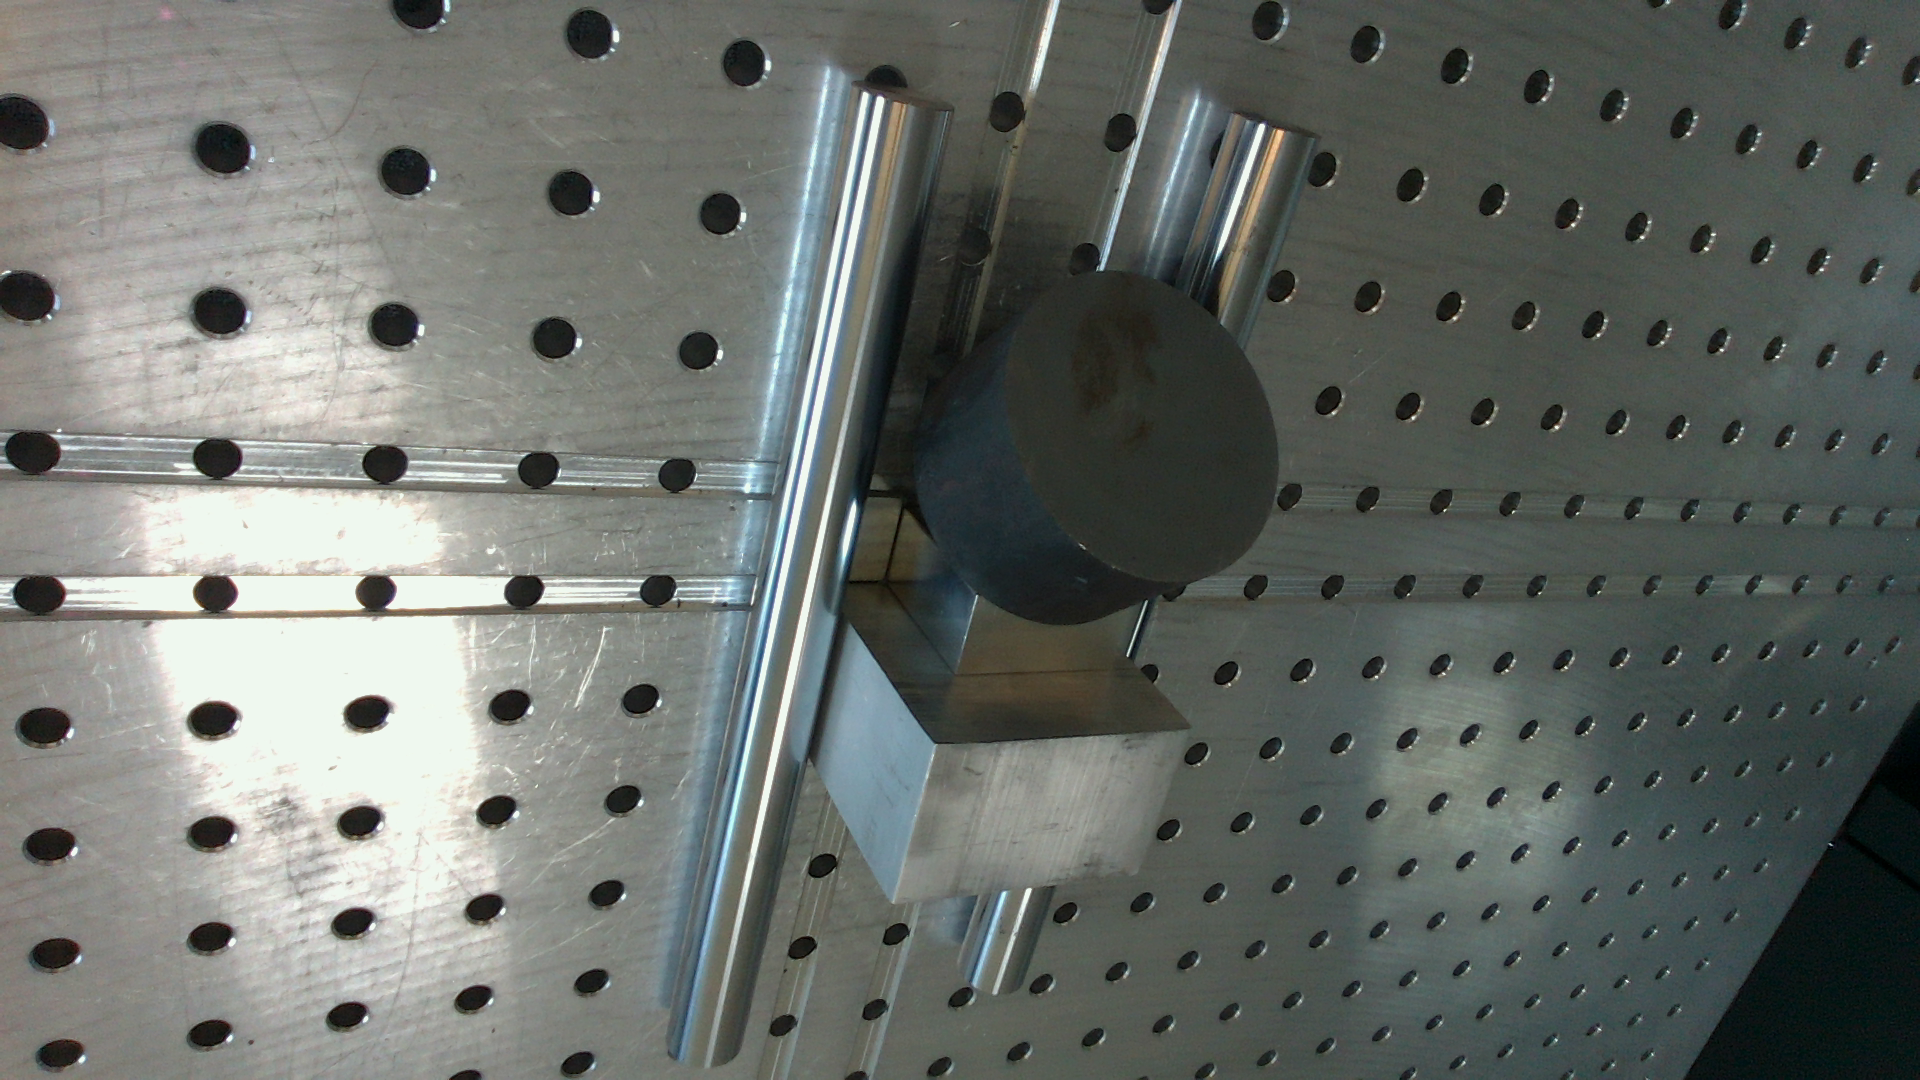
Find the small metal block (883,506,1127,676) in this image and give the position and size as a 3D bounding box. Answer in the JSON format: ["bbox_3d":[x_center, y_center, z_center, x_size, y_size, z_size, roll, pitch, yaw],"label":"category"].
[{"bbox_3d":[0.013,0.014,0.391,0.050,0.050,0.025,1,118,-29],"label":"small metal block"}]

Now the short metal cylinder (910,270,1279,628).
[{"bbox_3d":[0.034,-0.022,0.353,0.080,0.050,0.080,9,70,-26],"label":"short metal cylinder"}]

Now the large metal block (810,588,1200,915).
[{"bbox_3d":[0.007,0.055,0.391,0.080,0.080,0.050,1,118,-29],"label":"large metal block"}]

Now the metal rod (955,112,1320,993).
[{"bbox_3d":[0.047,0.020,0.430,0.025,0.025,0.300,2,118,-29],"label":"metal rod"}]

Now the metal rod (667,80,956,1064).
[{"bbox_3d":[-0.048,0.028,0.383,0.025,0.025,0.300,0,118,-29],"label":"metal rod"}]
